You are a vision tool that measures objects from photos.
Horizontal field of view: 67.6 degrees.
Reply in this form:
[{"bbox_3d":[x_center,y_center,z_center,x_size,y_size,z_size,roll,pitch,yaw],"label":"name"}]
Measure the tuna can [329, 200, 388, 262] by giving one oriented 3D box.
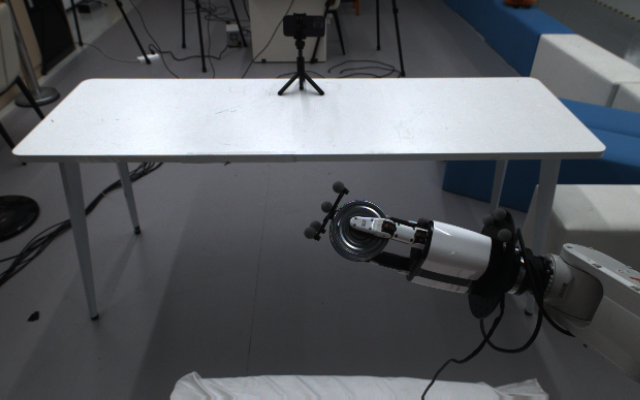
[{"bbox_3d":[0.059,0.042,0.692,0.085,0.034,0.085,1,75,-5],"label":"tuna can"}]
